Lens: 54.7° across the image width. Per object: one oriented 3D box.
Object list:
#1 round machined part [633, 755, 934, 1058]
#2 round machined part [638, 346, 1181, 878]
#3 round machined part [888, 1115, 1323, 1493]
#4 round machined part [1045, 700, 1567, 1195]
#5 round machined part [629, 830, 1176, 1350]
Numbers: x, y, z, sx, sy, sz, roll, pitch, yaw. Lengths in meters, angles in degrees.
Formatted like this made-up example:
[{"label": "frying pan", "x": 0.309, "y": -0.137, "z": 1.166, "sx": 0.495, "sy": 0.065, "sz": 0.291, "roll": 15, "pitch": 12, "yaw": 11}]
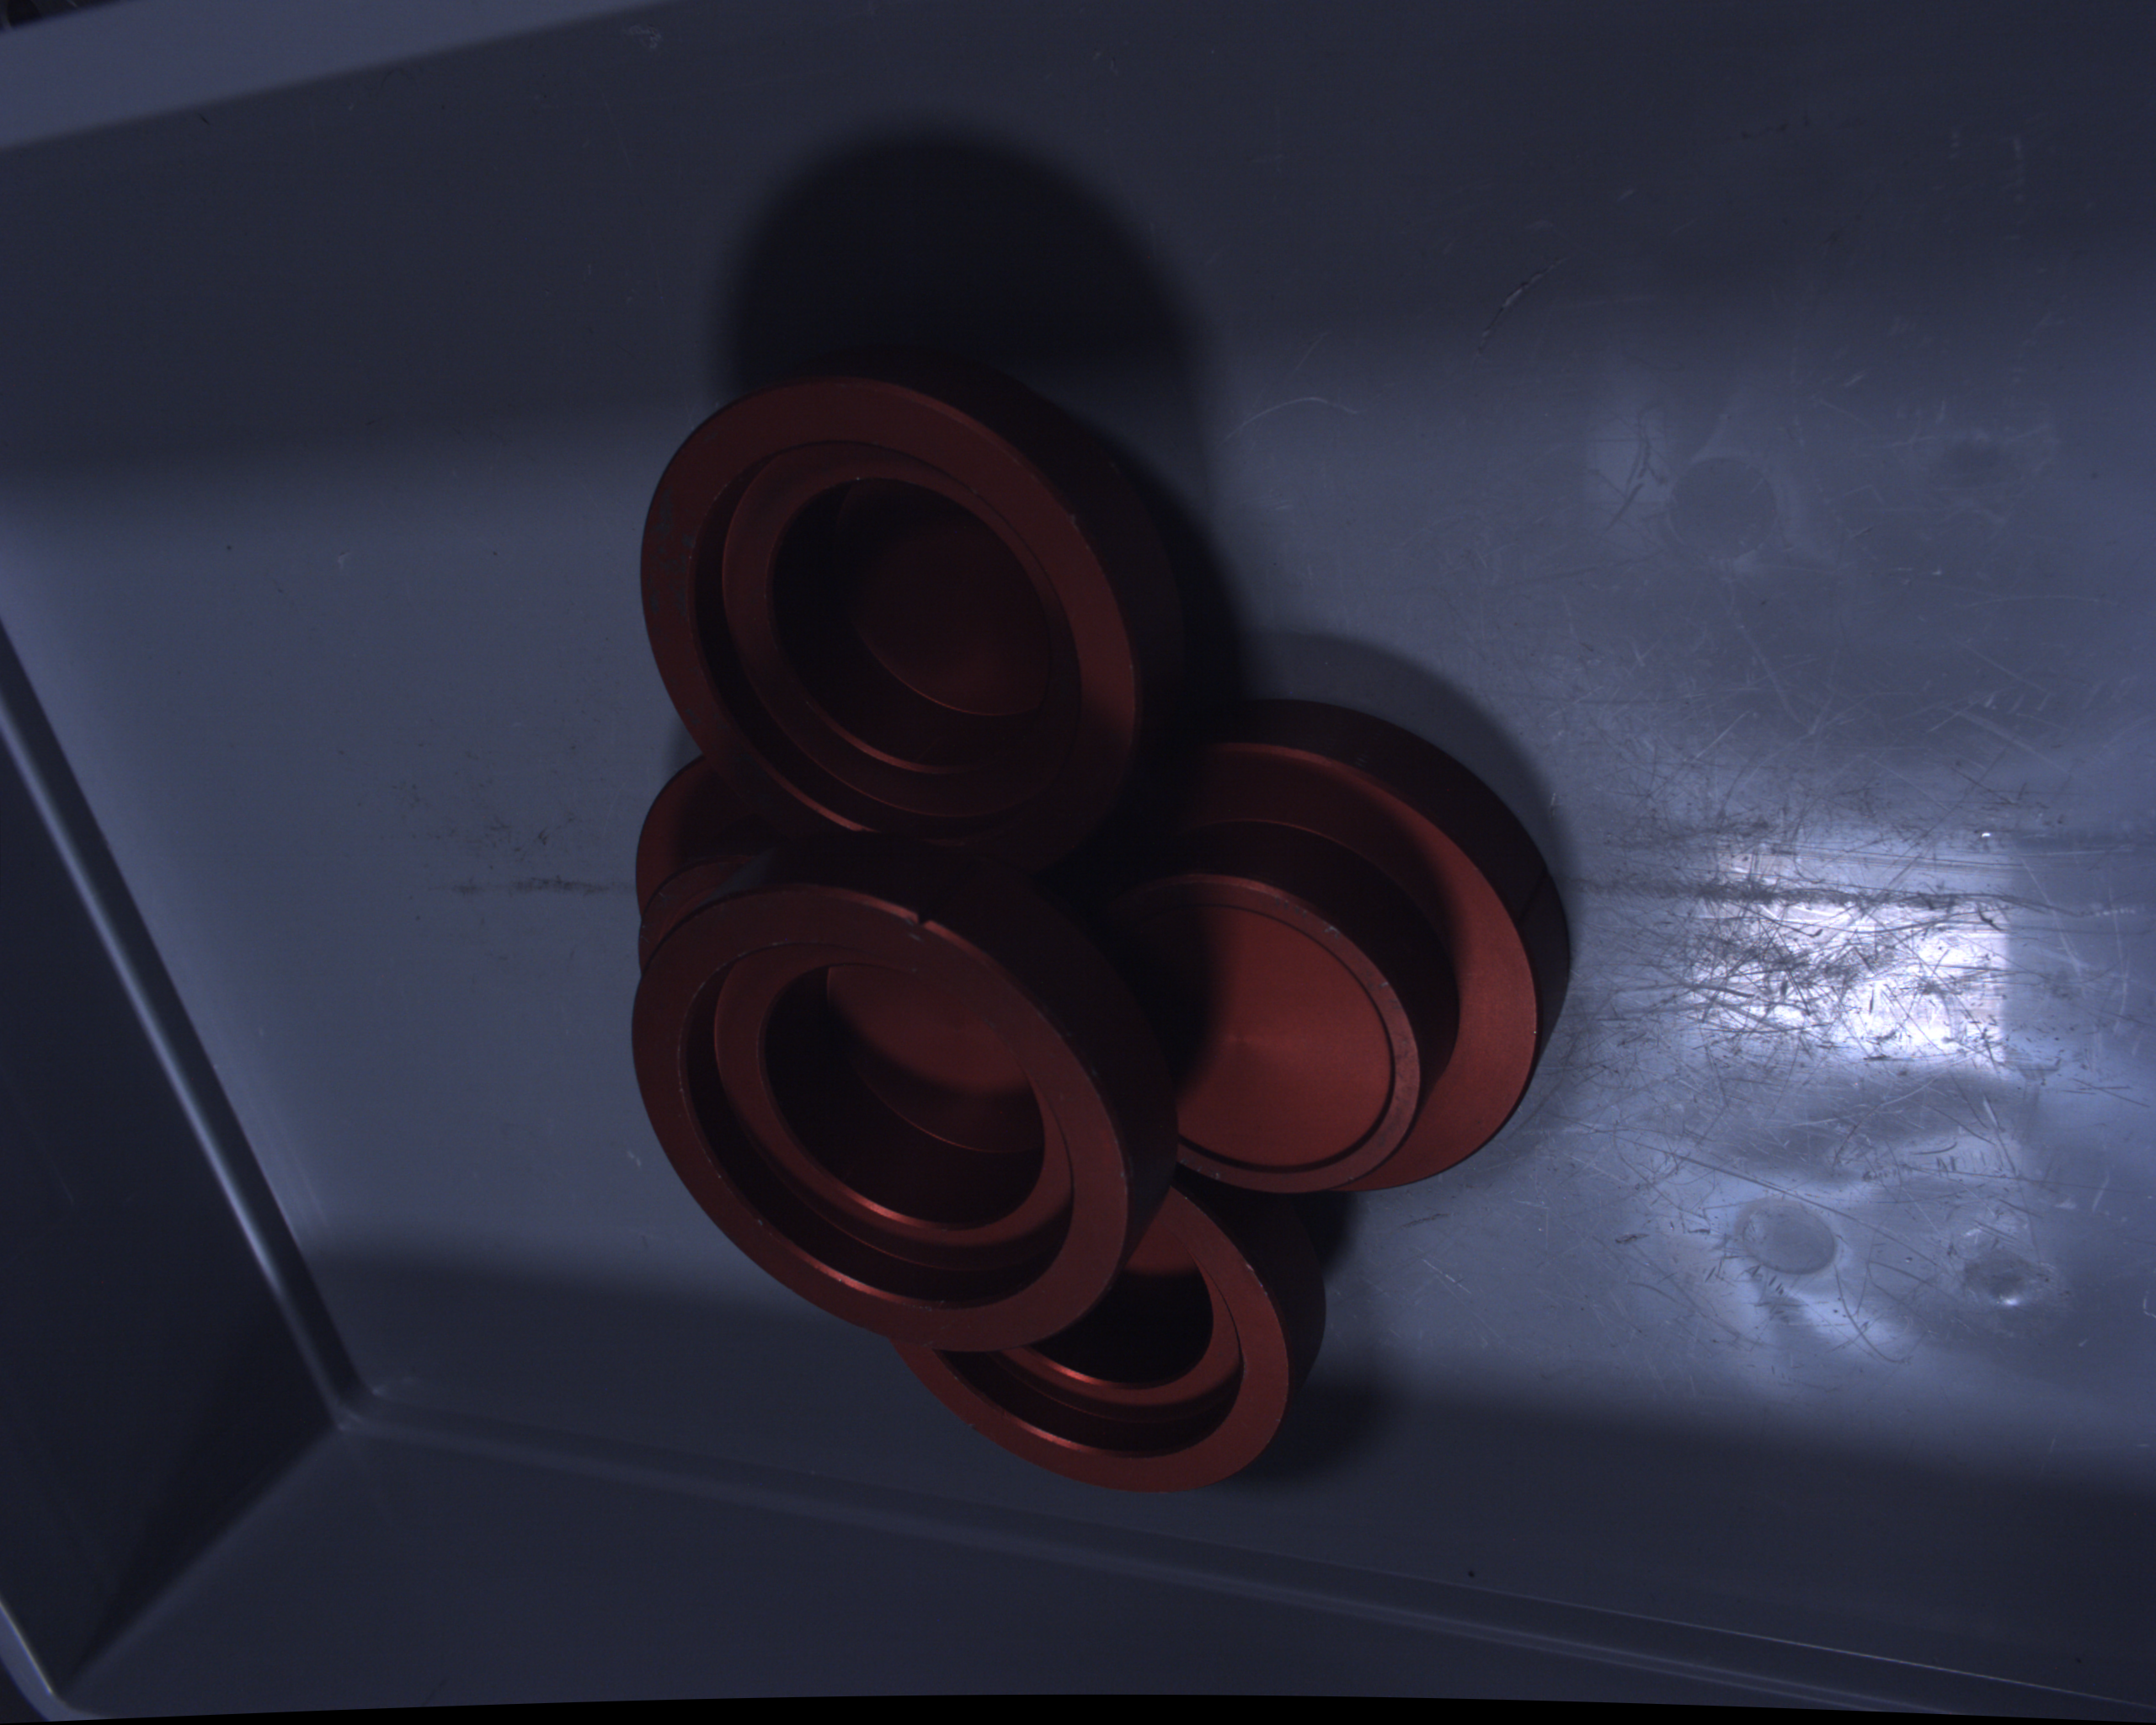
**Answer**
[{"label": "round machined part", "x": -0.051, "y": 0.019, "z": 0.432, "sx": 0.098, "sy": 0.042, "sz": 0.097, "roll": 13, "pitch": 124, "yaw": 20}, {"label": "round machined part", "x": -0.027, "y": -0.046, "z": 0.379, "sx": 0.098, "sy": 0.042, "sz": 0.097, "roll": 13, "pitch": 124, "yaw": 20}, {"label": "round machined part", "x": 0.005, "y": 0.082, "z": 0.442, "sx": 0.098, "sy": 0.042, "sz": 0.097, "roll": 13, "pitch": 124, "yaw": 20}, {"label": "round machined part", "x": 0.037, "y": 0.022, "z": 0.388, "sx": 0.098, "sy": 0.042, "sz": 0.097, "roll": 13, "pitch": 124, "yaw": 20}, {"label": "round machined part", "x": -0.028, "y": 0.037, "z": 0.376, "sx": 0.098, "sy": 0.042, "sz": 0.097, "roll": 13, "pitch": 124, "yaw": 20}]
